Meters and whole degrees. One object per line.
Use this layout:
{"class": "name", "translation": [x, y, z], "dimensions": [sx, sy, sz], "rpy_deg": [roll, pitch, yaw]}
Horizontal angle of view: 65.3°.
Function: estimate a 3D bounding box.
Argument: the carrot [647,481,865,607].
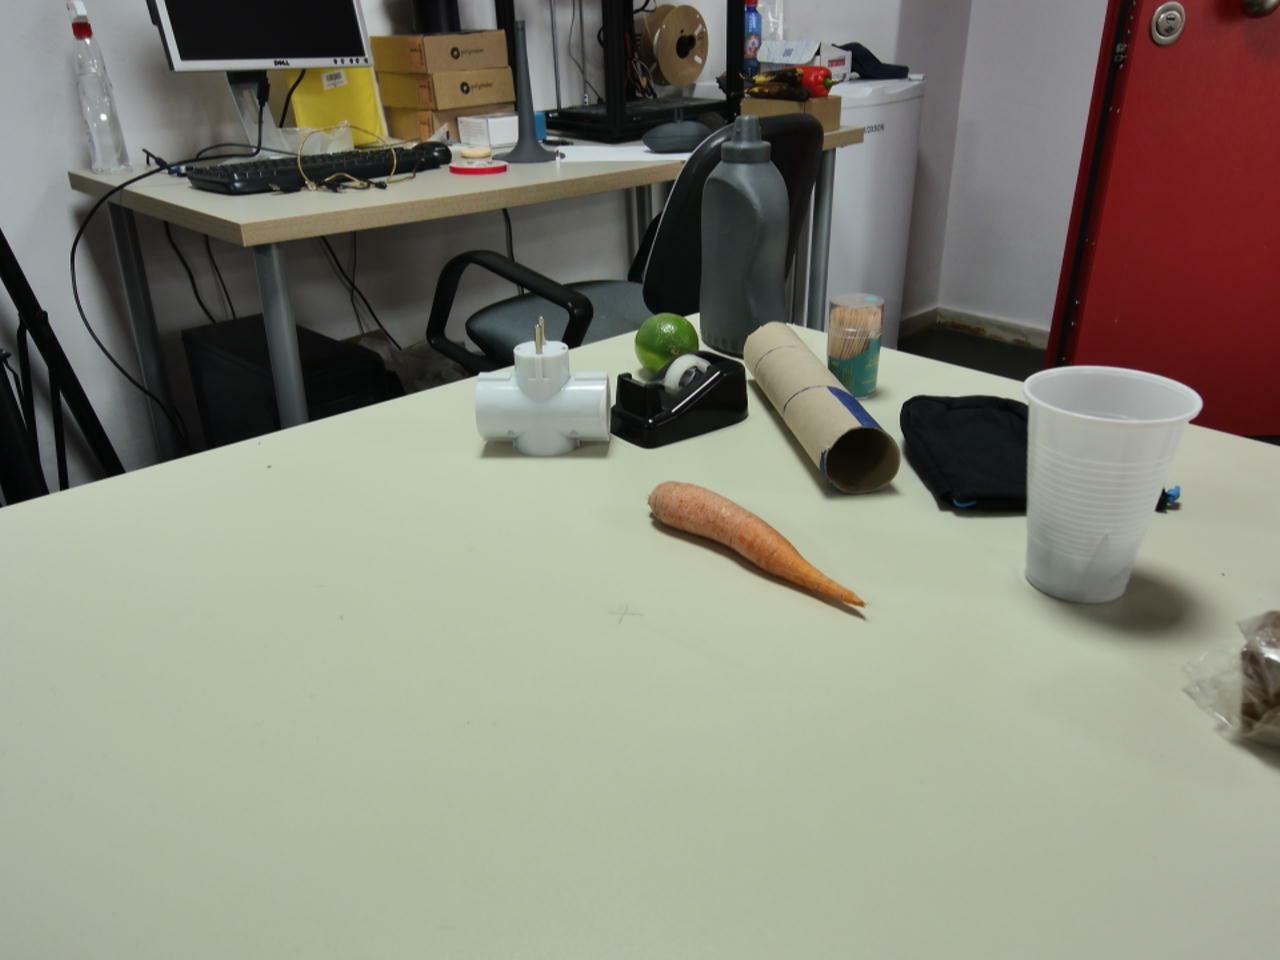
{"class": "carrot", "translation": [0.062, 0.031, 0.558], "dimensions": [0.031, 0.029, 0.163], "rpy_deg": [-19, 31, -38]}
